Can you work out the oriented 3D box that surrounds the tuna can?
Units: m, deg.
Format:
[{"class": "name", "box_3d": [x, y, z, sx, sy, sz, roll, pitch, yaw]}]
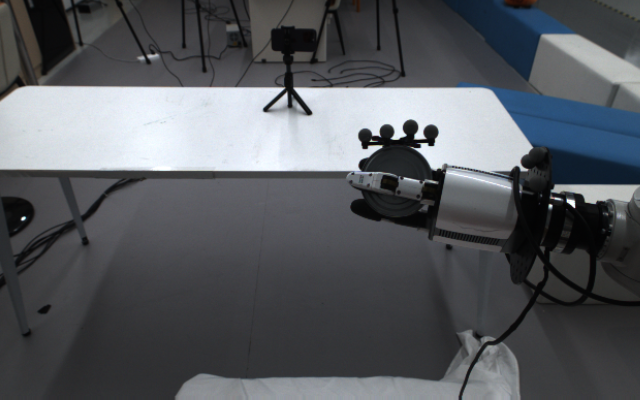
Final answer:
[{"class": "tuna can", "box_3d": [0.094, -0.023, 0.586, 0.085, 0.085, 0.034, 15, 2, 18]}]
